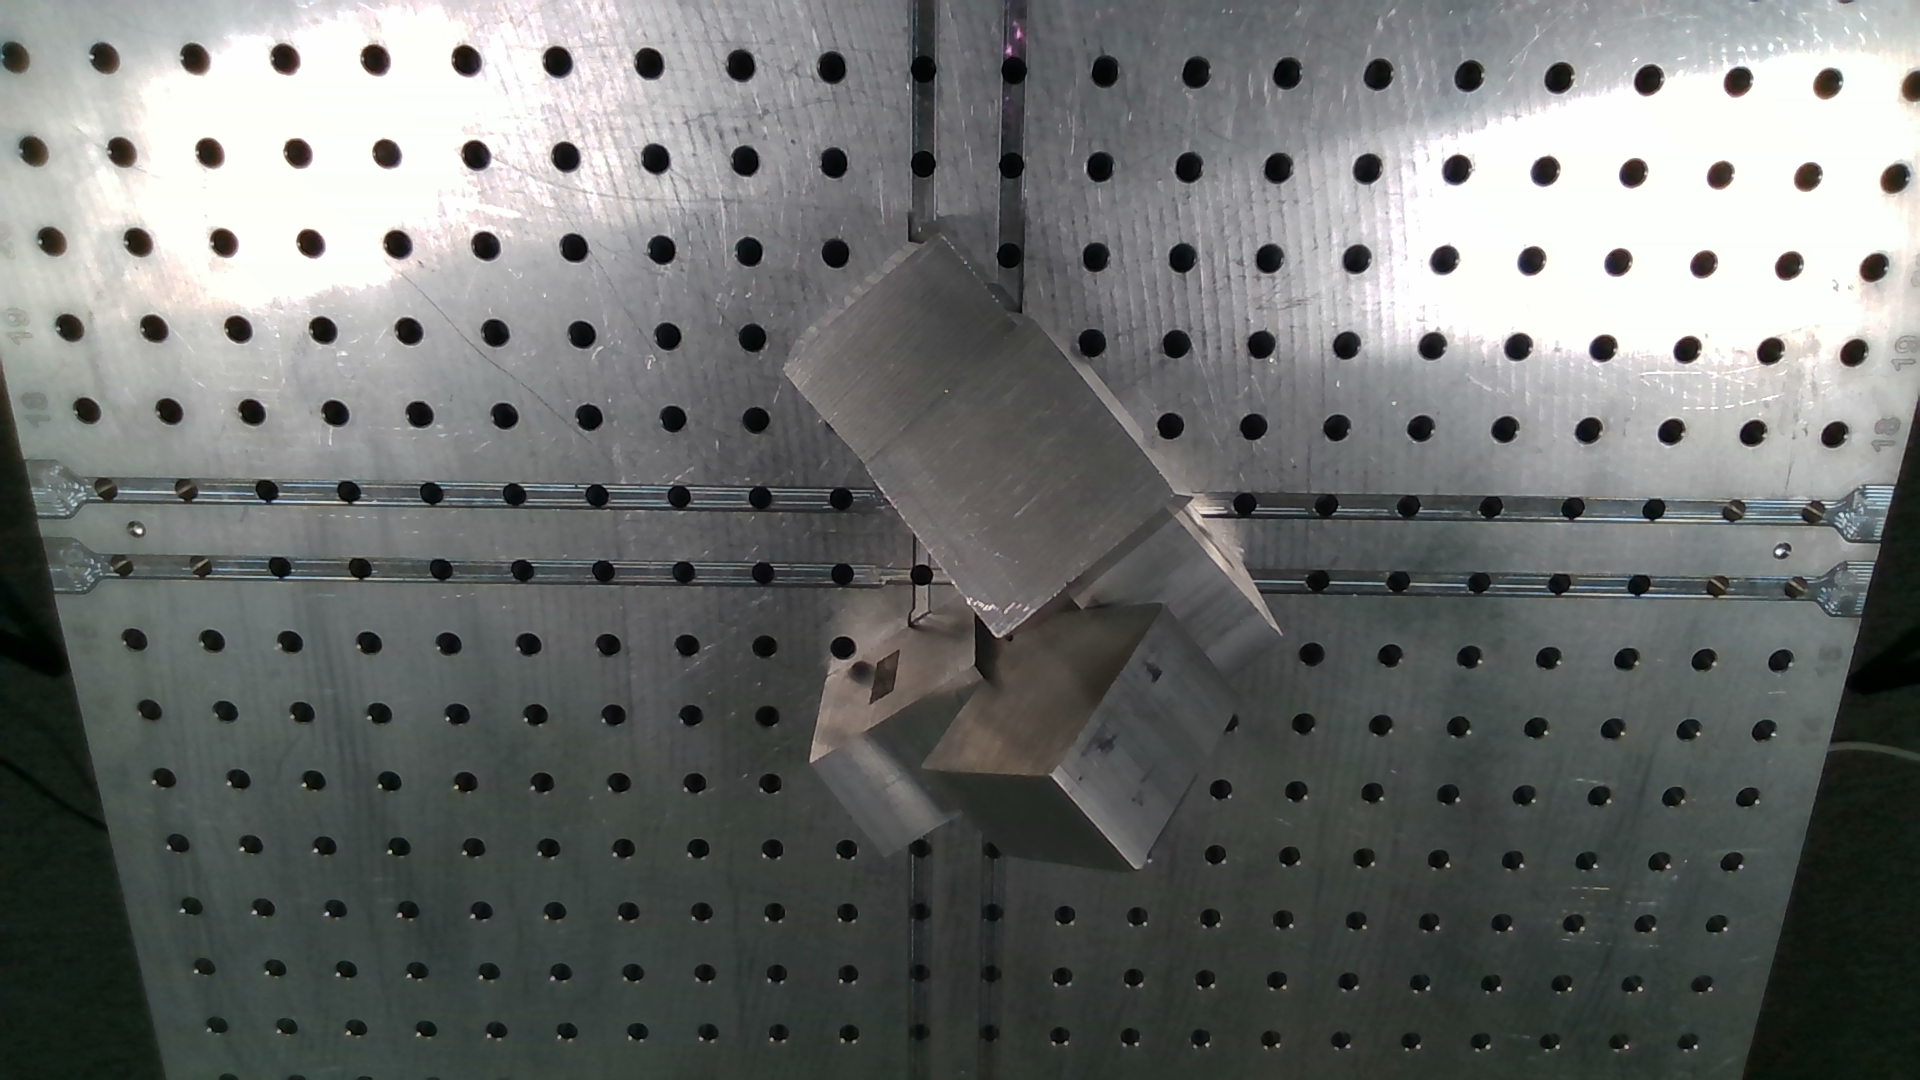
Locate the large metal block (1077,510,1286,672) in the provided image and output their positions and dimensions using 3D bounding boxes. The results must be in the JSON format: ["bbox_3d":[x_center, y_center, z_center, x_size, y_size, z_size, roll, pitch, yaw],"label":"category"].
[{"bbox_3d":[0.080,0.011,0.560,0.050,0.080,0.080,-40,105,13],"label":"large metal block"}]

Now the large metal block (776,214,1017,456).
[{"bbox_3d":[-0.013,-0.069,0.548,0.080,0.050,0.080,-38,106,13],"label":"large metal block"}]

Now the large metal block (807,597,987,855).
[{"bbox_3d":[-0.014,0.074,0.584,0.080,0.080,0.050,-32,107,11],"label":"large metal block"}]

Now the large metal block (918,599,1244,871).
[{"bbox_3d":[0.044,0.071,0.509,0.050,0.080,0.080,49,61,-20],"label":"large metal block"}]

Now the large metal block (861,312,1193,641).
[{"bbox_3d":[0.026,-0.022,0.496,0.080,0.050,0.080,-40,80,13],"label":"large metal block"}]
